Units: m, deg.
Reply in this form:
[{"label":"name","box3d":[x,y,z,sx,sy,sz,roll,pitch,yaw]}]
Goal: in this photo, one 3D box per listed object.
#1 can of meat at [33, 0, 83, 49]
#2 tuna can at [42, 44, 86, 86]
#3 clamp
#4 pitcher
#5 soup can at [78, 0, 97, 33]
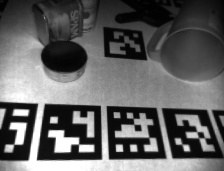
[{"label":"can of meat","box3d":[-0.113,-0.131,0.459,0.084,0.102,0.057,-31,70,-23]},{"label":"tuna can","box3d":[-0.099,-0.042,0.450,0.086,0.034,0.085,6,59,-9]},{"label":"clamp","box3d":[0.077,-0.199,0.602,0.166,0.036,0.121,8,53,-12]},{"label":"pitcher","box3d":[0.201,-0.130,0.514,0.187,0.134,0.243,9,46,20]},{"label":"soup can","box3d":[-0.069,-0.183,0.508,0.068,0.102,0.067,4,59,-6]}]
